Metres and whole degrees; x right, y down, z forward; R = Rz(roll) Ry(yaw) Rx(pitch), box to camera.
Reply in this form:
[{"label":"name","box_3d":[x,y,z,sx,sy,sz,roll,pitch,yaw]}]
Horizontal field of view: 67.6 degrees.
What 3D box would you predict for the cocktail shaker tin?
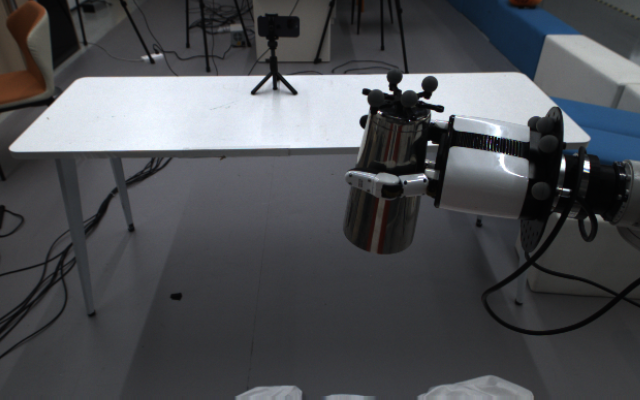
[{"label":"cocktail shaker tin","box_3d":[0.083,-0.031,0.569,0.093,0.170,0.093,3,36,-3]}]
